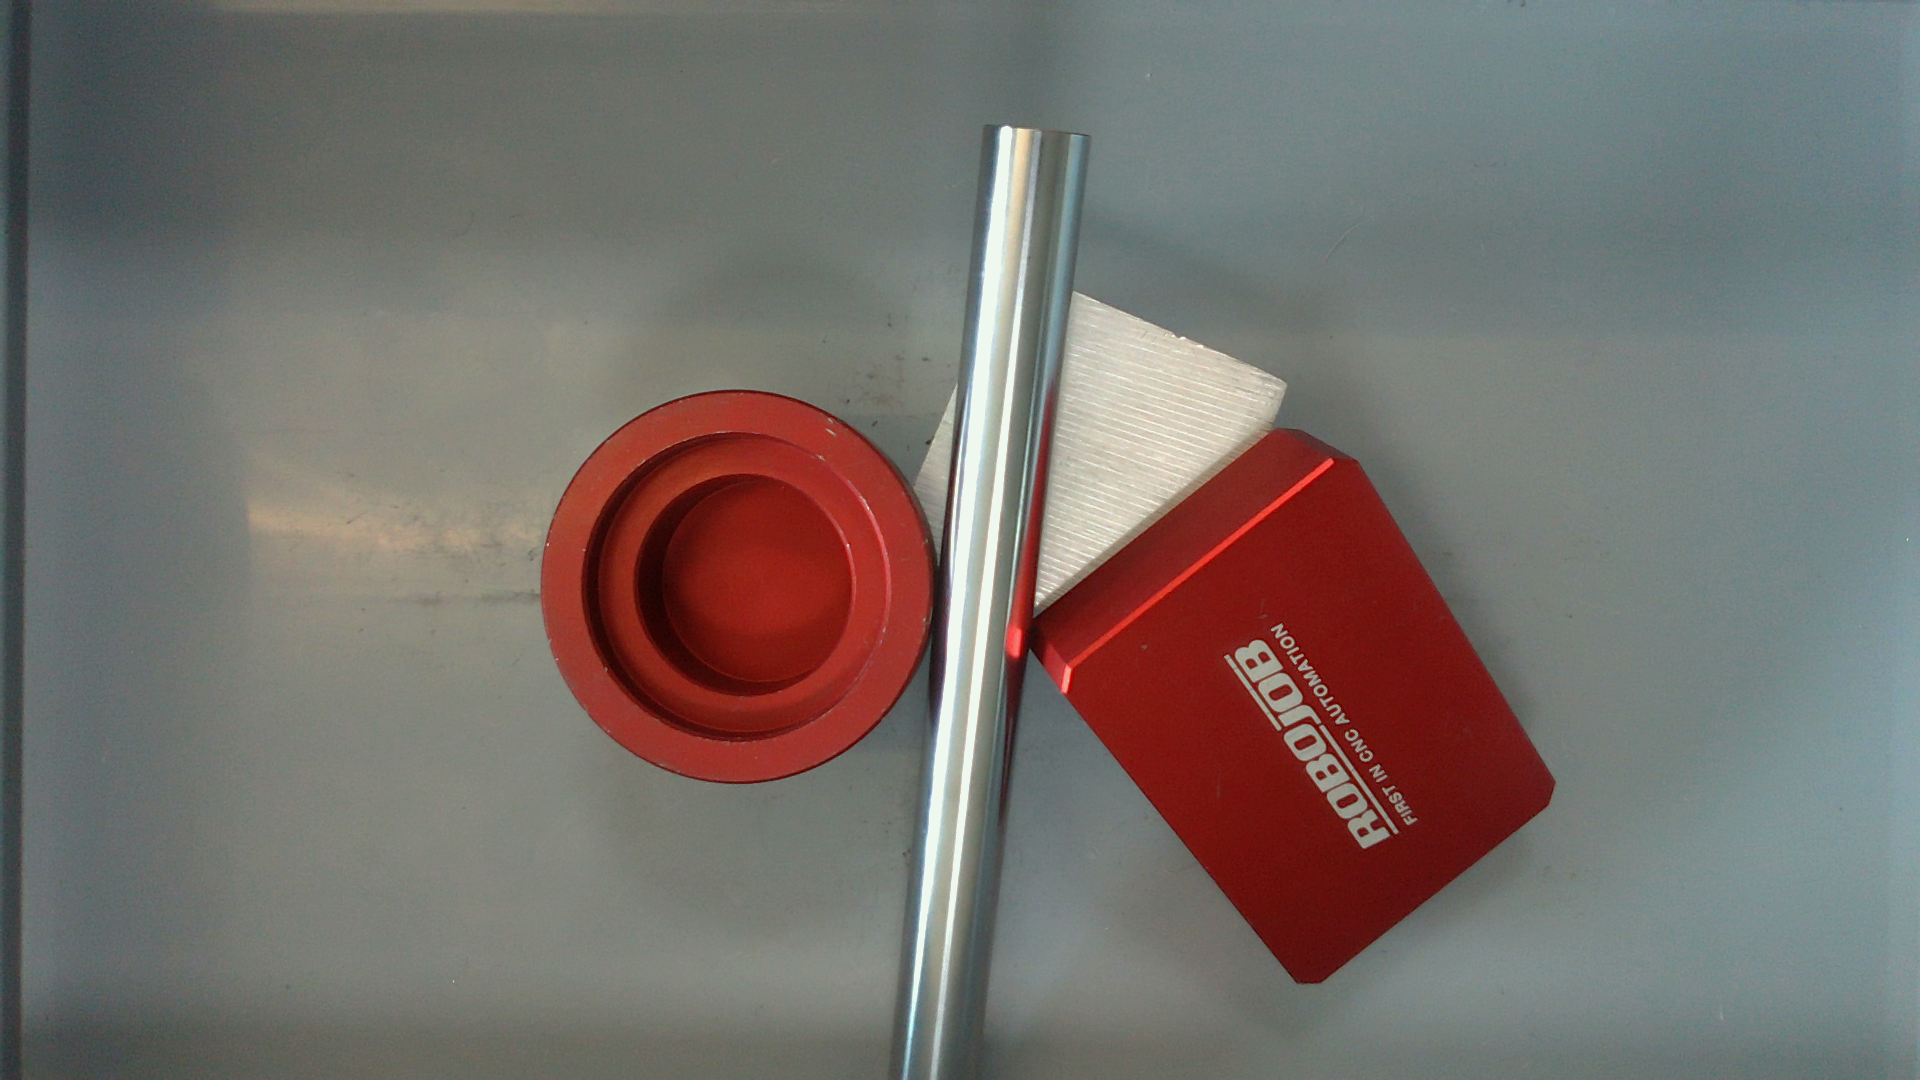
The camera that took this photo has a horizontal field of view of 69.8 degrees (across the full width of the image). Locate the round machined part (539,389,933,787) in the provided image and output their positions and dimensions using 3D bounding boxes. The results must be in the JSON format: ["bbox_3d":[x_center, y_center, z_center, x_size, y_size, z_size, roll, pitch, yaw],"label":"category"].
[{"bbox_3d":[-0.055,0.012,0.358,0.098,0.042,0.098,0,91,3],"label":"round machined part"}]

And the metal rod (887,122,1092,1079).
[{"bbox_3d":[0.003,0.050,0.355,0.025,0.025,0.300,6,106,0],"label":"metal rod"}]

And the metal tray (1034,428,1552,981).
[{"bbox_3d":[0.091,0.047,0.367,0.090,0.030,0.130,-38,115,0],"label":"metal tray"}]

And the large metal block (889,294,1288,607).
[{"bbox_3d":[0.033,-0.020,0.382,0.080,0.050,0.080,23,90,0],"label":"large metal block"}]

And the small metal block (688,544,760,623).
[{"bbox_3d":[-0.069,-0.004,0.395,0.050,0.025,0.050,-22,90,0],"label":"small metal block"}]
